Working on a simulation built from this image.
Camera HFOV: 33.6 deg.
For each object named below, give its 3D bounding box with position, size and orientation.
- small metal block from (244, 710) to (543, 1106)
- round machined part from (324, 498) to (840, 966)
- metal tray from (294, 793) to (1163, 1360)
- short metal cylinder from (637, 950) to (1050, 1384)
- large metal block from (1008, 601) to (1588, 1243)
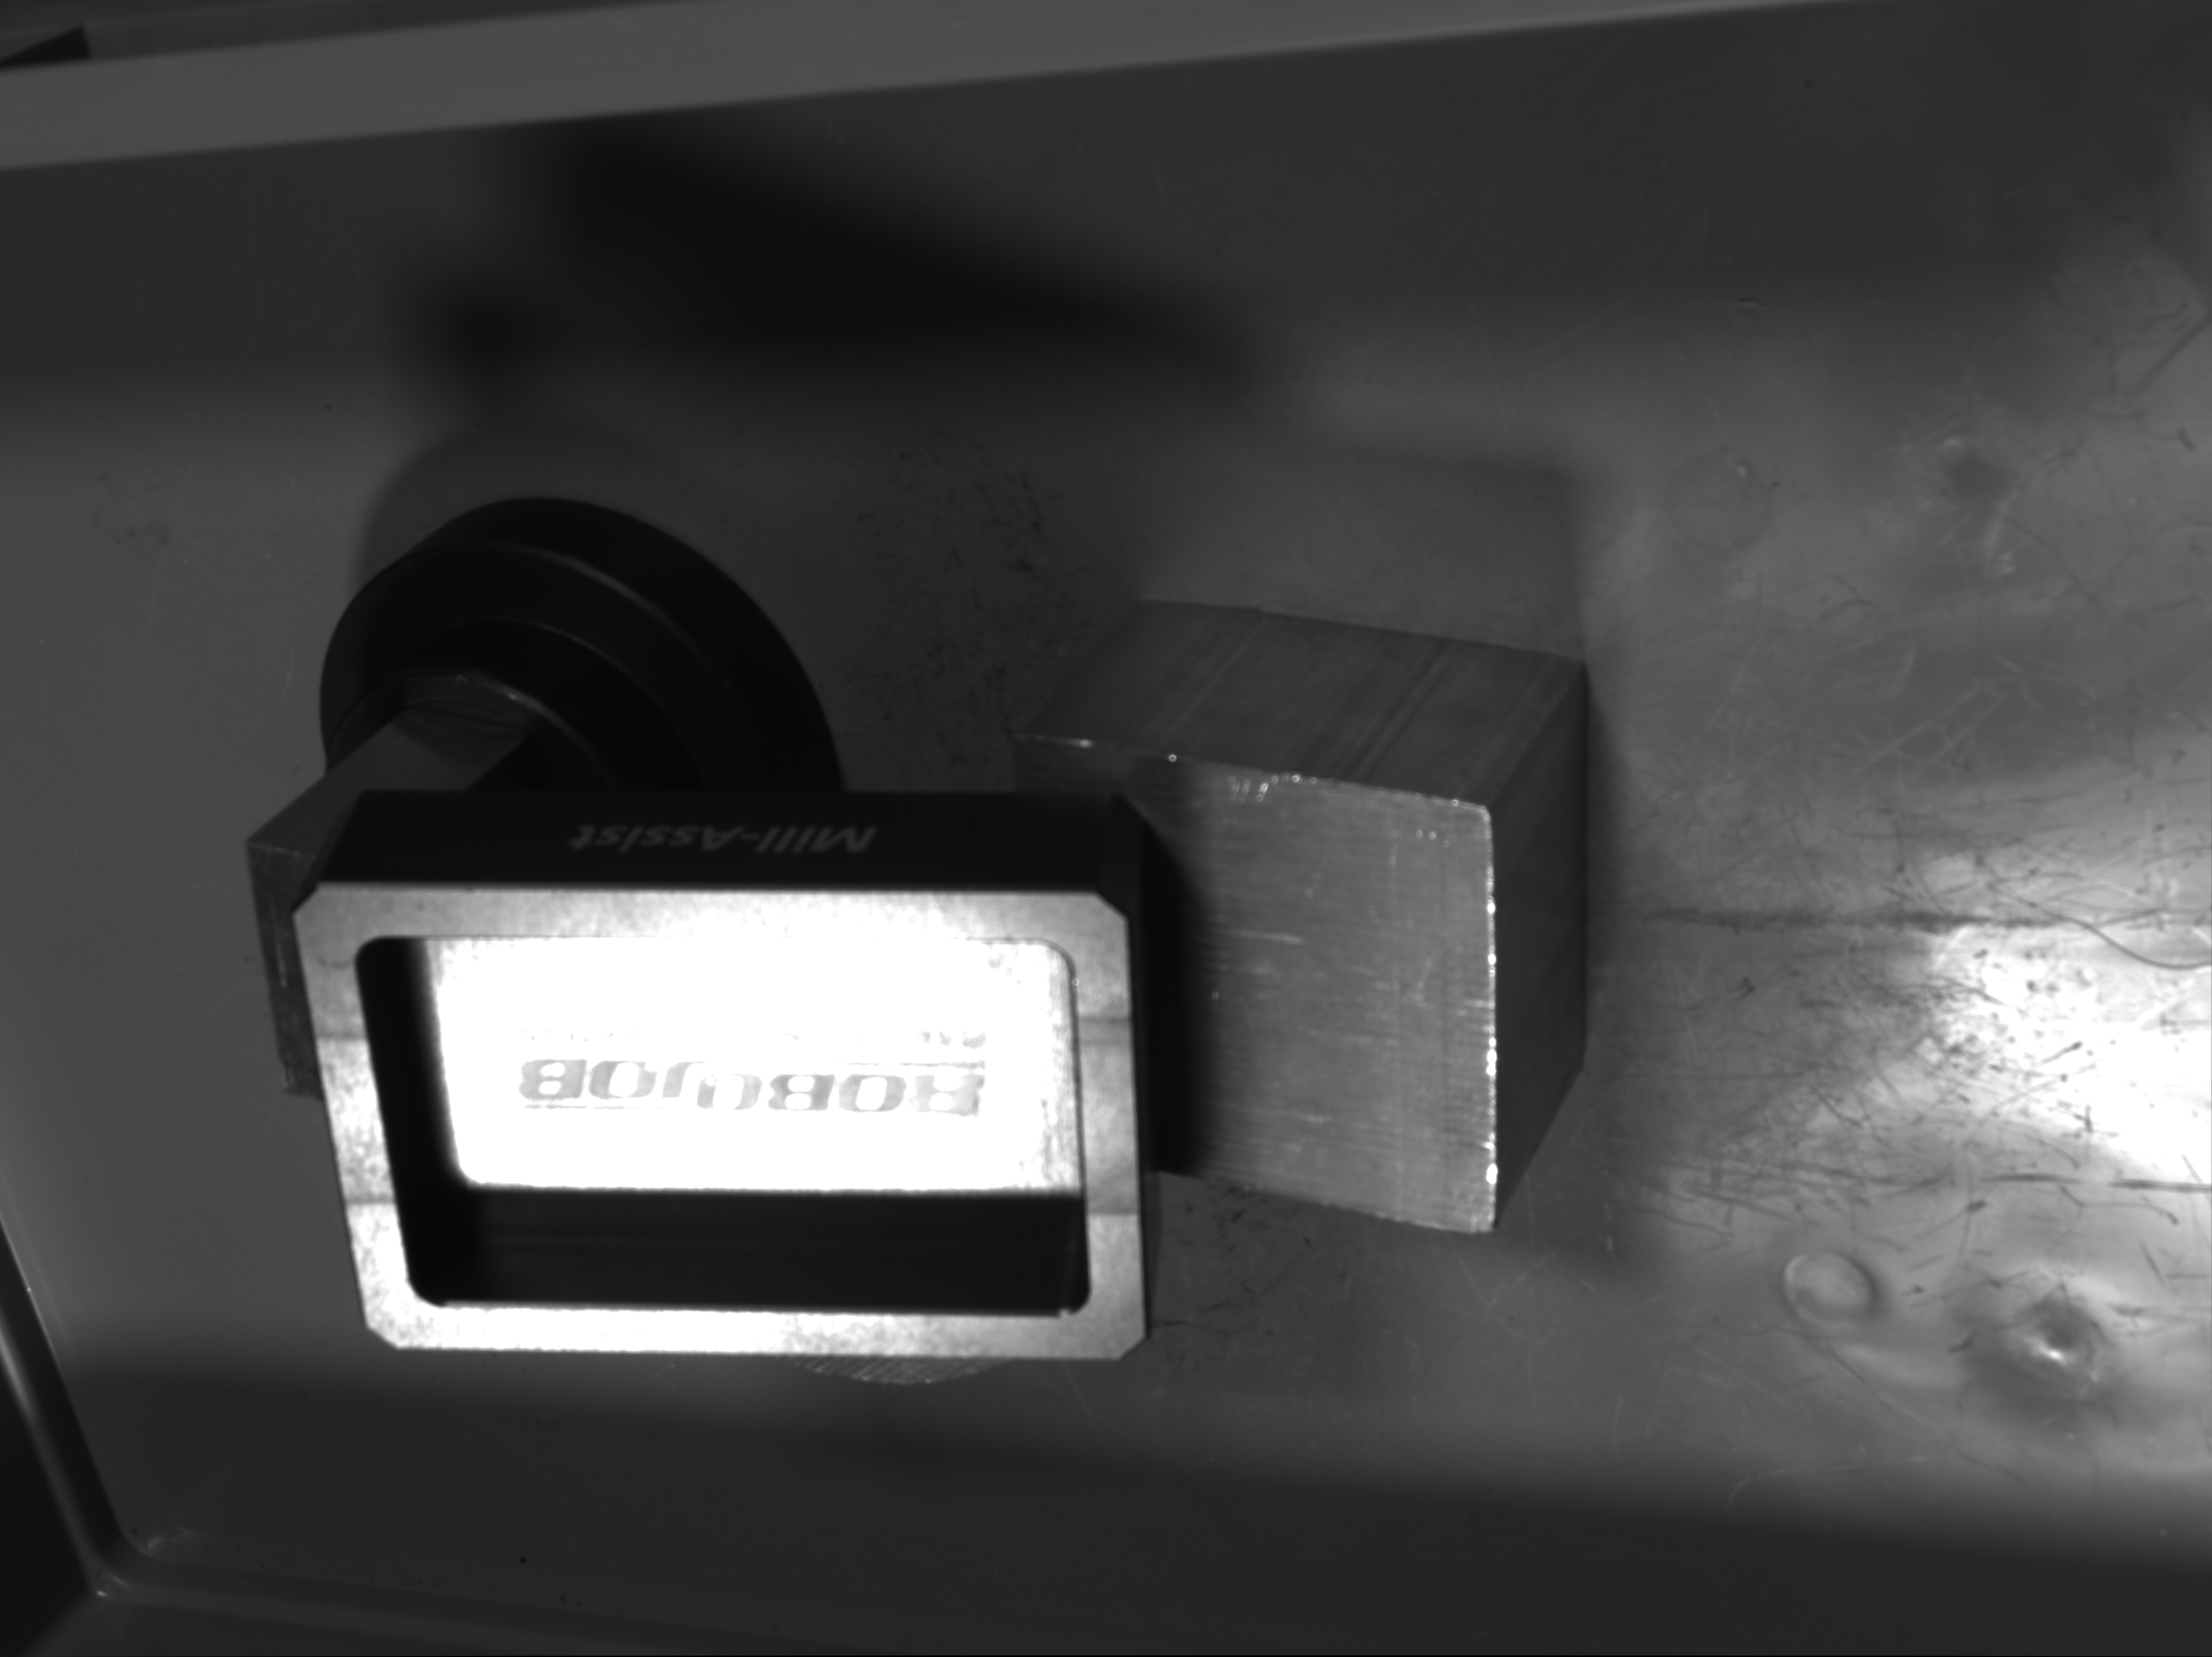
[{"bbox_3d":[-0.120,0.015,0.629,0.025,0.050,0.050,11,123,21],"label":"small metal block"},{"bbox_3d":[-0.101,-0.007,0.665,0.098,0.042,0.098,12,123,20],"label":"round machined part"},{"bbox_3d":[-0.057,0.040,0.590,0.130,0.030,0.090,0,120,5],"label":"metal tray"},{"bbox_3d":[-0.040,0.053,0.651,0.080,0.050,0.080,6,131,7],"label":"short metal cylinder"},{"bbox_3d":[0.033,0.014,0.604,0.080,0.050,0.080,9,122,22],"label":"large metal block"}]
